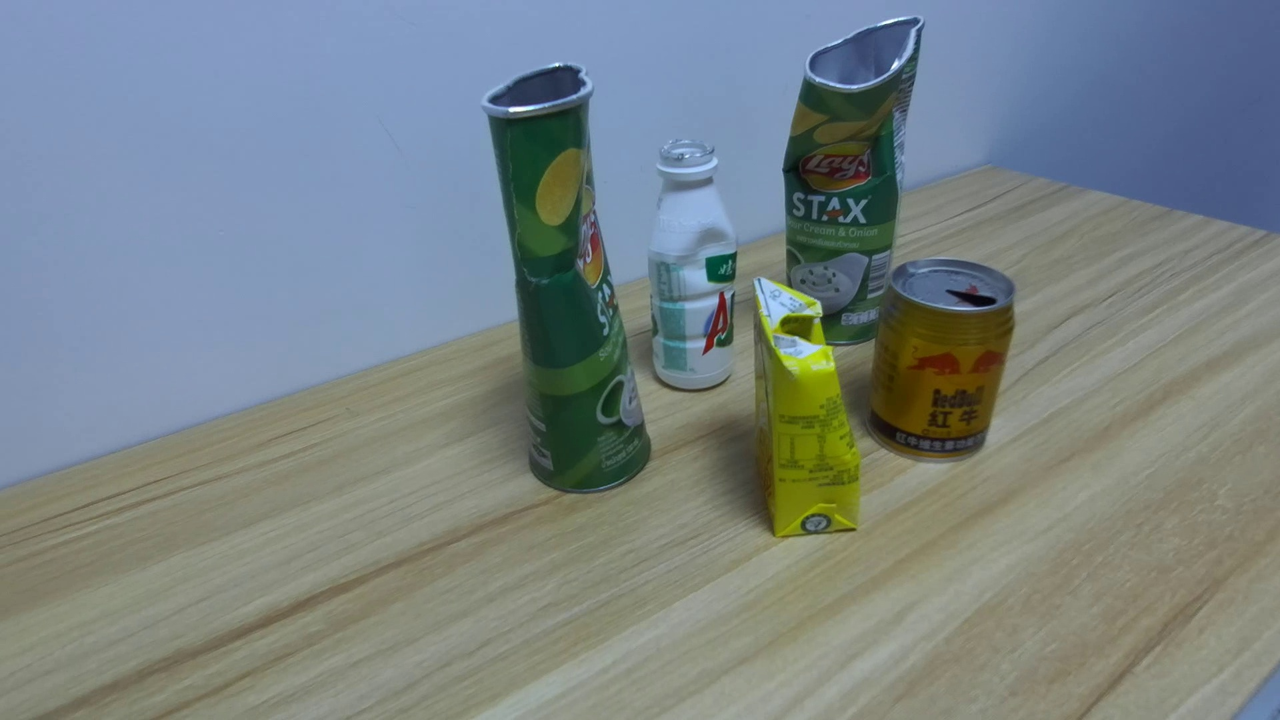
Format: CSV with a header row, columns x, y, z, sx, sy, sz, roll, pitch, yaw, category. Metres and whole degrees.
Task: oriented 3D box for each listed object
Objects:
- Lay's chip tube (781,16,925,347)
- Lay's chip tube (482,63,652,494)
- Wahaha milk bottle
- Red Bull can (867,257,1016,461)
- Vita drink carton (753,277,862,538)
x,y,z,sx,sy,sz,roll,pitch,yaw,category
0.131,-0.100,0.445,0.079,0.200,0.071,-4,38,3,Lay's chip tube
-0.036,-0.030,0.360,0.069,0.200,0.074,-21,30,-27,Lay's chip tube
0.031,-0.052,0.418,0.055,0.149,0.055,-2,33,1,Wahaha milk bottle
0.159,0.000,0.378,0.067,0.093,0.067,-2,30,1,Red Bull can
0.080,0.022,0.333,0.046,0.110,0.071,-5,32,3,Vita drink carton
